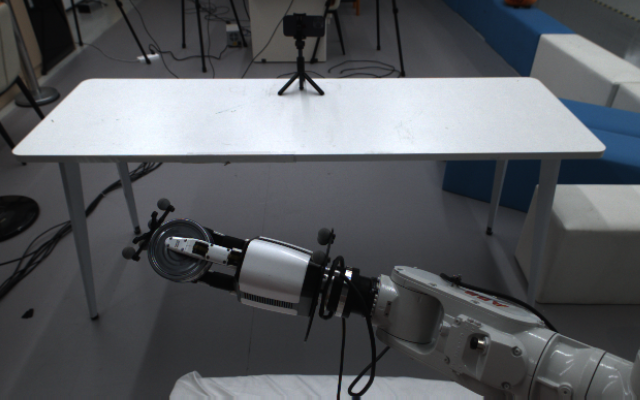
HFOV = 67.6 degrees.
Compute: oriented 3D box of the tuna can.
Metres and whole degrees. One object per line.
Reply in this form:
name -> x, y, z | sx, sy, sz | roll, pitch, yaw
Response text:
tuna can -> -0.186, 0.070, 0.661 | 0.085, 0.034, 0.085 | 1, 77, -5
